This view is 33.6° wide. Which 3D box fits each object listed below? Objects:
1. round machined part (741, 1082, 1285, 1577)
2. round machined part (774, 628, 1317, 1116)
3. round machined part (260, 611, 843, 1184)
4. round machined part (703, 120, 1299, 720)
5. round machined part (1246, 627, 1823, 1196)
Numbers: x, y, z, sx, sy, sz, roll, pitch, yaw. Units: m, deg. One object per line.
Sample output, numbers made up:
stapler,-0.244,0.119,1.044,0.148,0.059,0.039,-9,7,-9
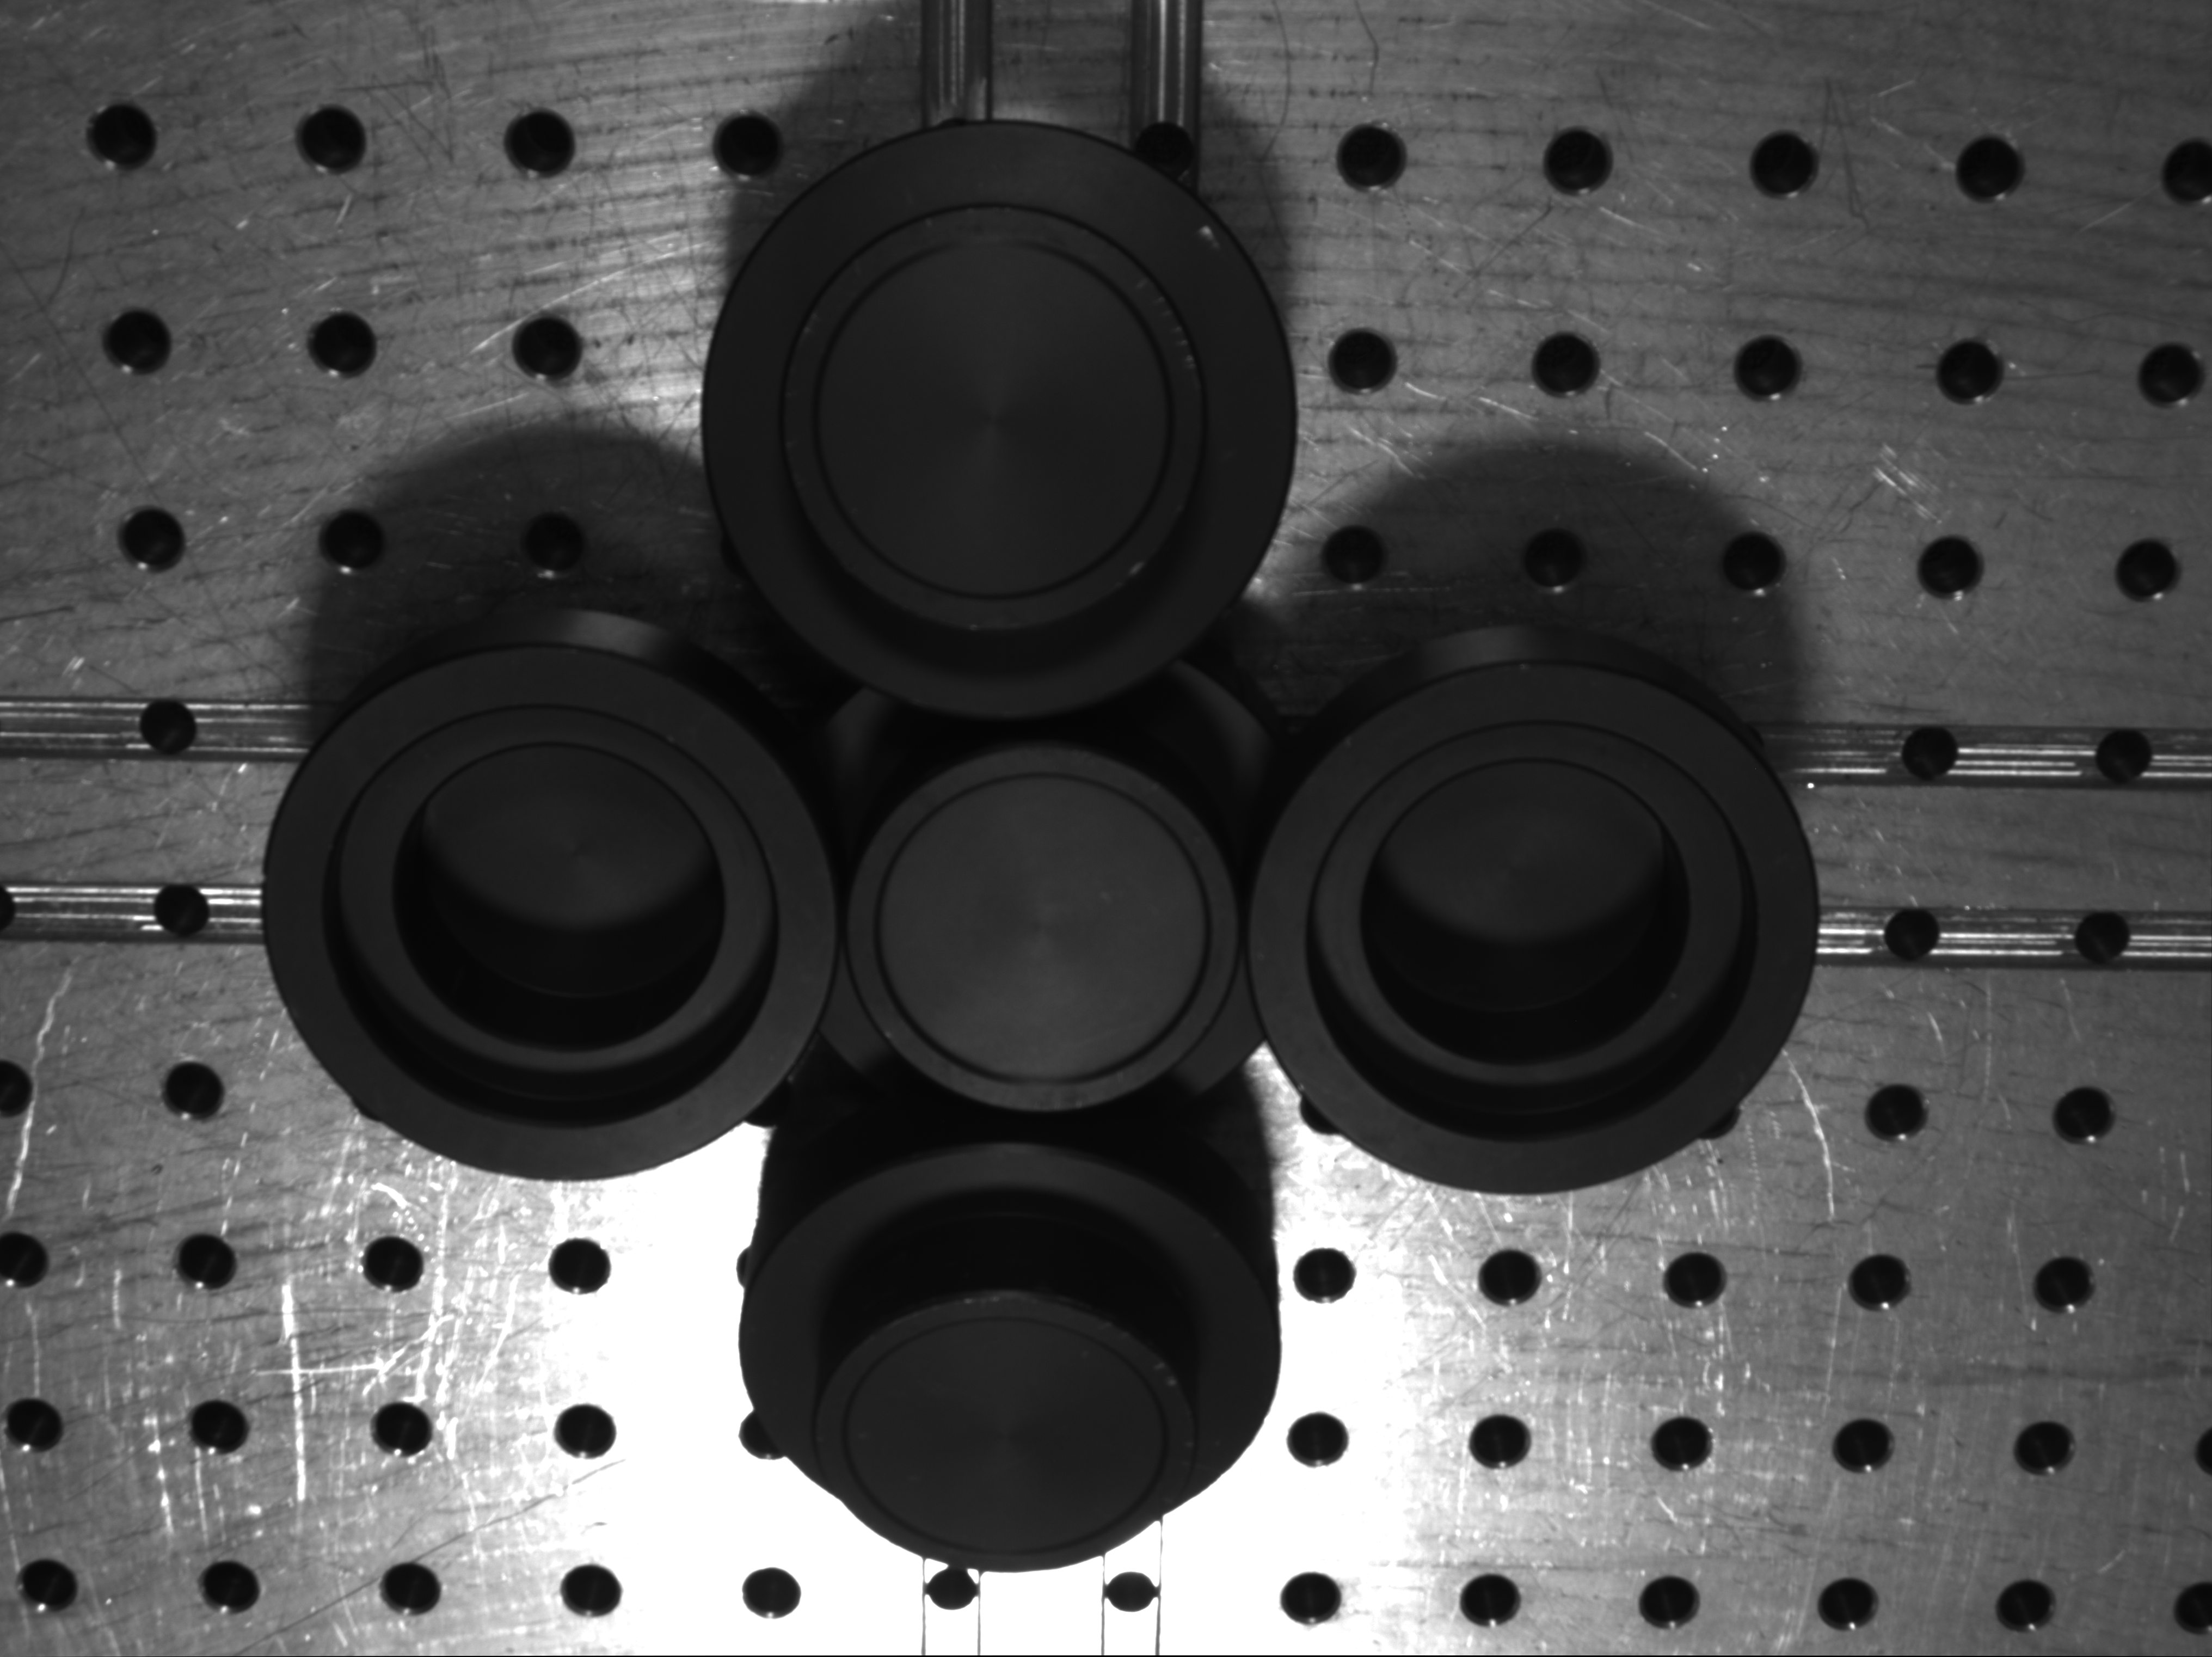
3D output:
round machined part,-0.017,0.096,0.659,0.098,0.042,0.098,0,125,0
round machined part,-0.011,0.011,0.639,0.098,0.042,0.098,0,110,-1
round machined part,-0.094,0.009,0.638,0.098,0.042,0.098,0,110,-1
round machined part,-0.017,-0.067,0.600,0.098,0.042,0.098,0,96,1
round machined part,0.073,0.011,0.641,0.098,0.042,0.098,0,110,-1
